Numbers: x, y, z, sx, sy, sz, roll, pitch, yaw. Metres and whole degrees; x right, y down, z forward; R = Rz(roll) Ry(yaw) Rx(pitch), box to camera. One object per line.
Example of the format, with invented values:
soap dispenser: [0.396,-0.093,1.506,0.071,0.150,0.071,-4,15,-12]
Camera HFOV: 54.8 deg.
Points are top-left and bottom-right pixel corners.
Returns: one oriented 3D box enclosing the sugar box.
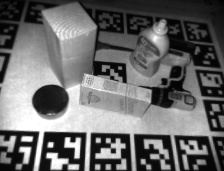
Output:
sugar box: [0.077,-0.006,0.593,0.177,0.093,0.045,11,58,-7]

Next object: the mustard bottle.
mustard bottle: [0.167,-0.149,0.634,0.095,0.191,0.059,44,66,12]

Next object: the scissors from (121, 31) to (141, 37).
scissors: [0.014,-0.168,0.703,0.204,0.016,0.087,2,59,-10]

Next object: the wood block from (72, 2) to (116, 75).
wood block: [-0.046,-0.117,0.570,0.091,0.206,0.089,-28,72,-21]

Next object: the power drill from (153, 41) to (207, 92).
power drill: [0.209,-0.077,0.673,0.185,0.057,0.186,12,69,-5]

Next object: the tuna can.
tuna can: [-0.089,0.012,0.578,0.086,0.034,0.085,5,63,-9]
